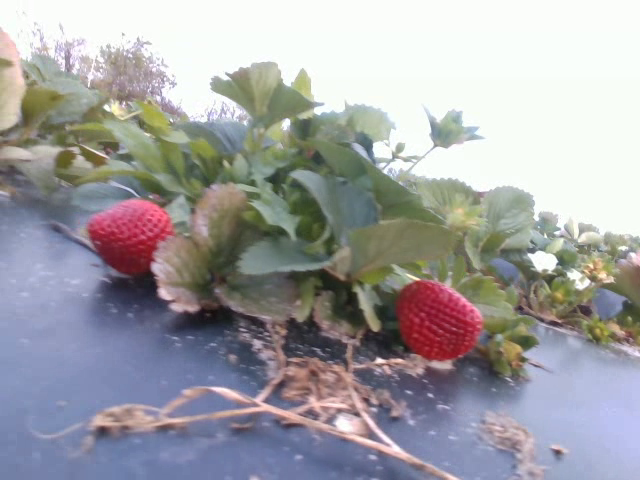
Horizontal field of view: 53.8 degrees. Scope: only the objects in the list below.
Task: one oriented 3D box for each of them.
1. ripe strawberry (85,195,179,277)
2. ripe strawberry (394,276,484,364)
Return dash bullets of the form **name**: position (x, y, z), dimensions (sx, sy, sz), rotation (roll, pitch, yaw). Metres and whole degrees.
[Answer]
- **ripe strawberry**: position (-0.097, 0.000, 0.306), dimensions (0.043, 0.043, 0.050), rotation (23, 10, 26)
- **ripe strawberry**: position (0.061, 0.037, 0.304), dimensions (0.043, 0.047, 0.046), rotation (-21, 12, -37)
